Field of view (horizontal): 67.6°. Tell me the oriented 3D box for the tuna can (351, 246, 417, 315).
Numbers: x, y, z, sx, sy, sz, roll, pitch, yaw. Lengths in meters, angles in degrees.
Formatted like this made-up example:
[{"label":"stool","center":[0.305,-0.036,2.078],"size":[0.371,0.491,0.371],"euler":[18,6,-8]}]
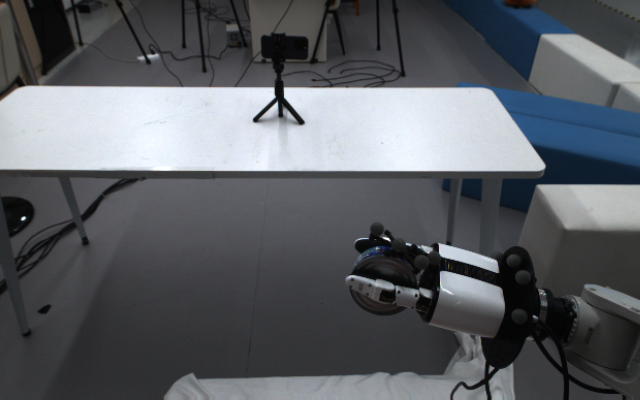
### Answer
[{"label":"tuna can","center":[0.085,0.103,0.625],"size":[0.085,0.085,0.034],"euler":[7,16,7]}]
